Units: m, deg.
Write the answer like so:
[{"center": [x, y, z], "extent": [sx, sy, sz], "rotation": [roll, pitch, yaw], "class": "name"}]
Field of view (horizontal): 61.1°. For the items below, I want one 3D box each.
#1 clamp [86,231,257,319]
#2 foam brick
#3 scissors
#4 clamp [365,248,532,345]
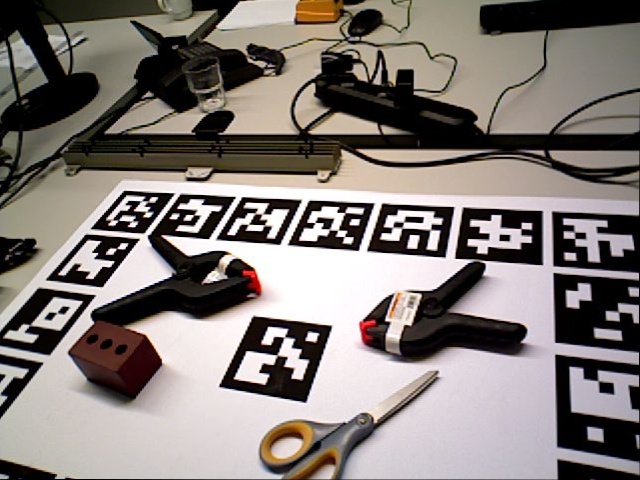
[{"center": [-0.179, 0.044, 0.707], "extent": [0.203, 0.037, 0.162], "rotation": [1, 41, 15], "class": "clamp"}, {"center": [-0.232, 0.131, 0.619], "extent": [0.078, 0.052, 0.051], "rotation": [6, 46, 27], "class": "foam brick"}, {"center": [0.033, 0.167, 0.525], "extent": [0.199, 0.016, 0.087], "rotation": [-30, 52, -20], "class": "scissors"}, {"center": [0.129, 0.071, 0.599], "extent": [0.164, 0.037, 0.120], "rotation": [-16, 49, -1], "class": "clamp"}]
